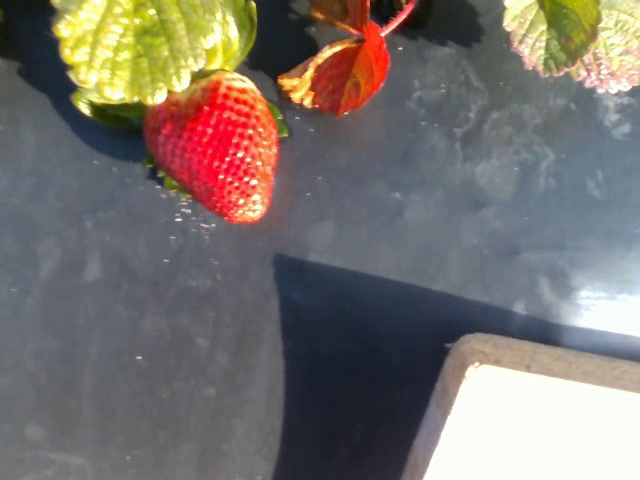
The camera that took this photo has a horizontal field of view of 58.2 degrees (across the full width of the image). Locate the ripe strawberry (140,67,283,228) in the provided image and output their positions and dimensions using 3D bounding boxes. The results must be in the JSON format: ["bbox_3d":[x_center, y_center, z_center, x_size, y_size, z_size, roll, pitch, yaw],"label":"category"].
[{"bbox_3d":[-0.030,-0.025,0.168,0.041,0.056,0.041,-36,-27,21],"label":"ripe strawberry"}]
